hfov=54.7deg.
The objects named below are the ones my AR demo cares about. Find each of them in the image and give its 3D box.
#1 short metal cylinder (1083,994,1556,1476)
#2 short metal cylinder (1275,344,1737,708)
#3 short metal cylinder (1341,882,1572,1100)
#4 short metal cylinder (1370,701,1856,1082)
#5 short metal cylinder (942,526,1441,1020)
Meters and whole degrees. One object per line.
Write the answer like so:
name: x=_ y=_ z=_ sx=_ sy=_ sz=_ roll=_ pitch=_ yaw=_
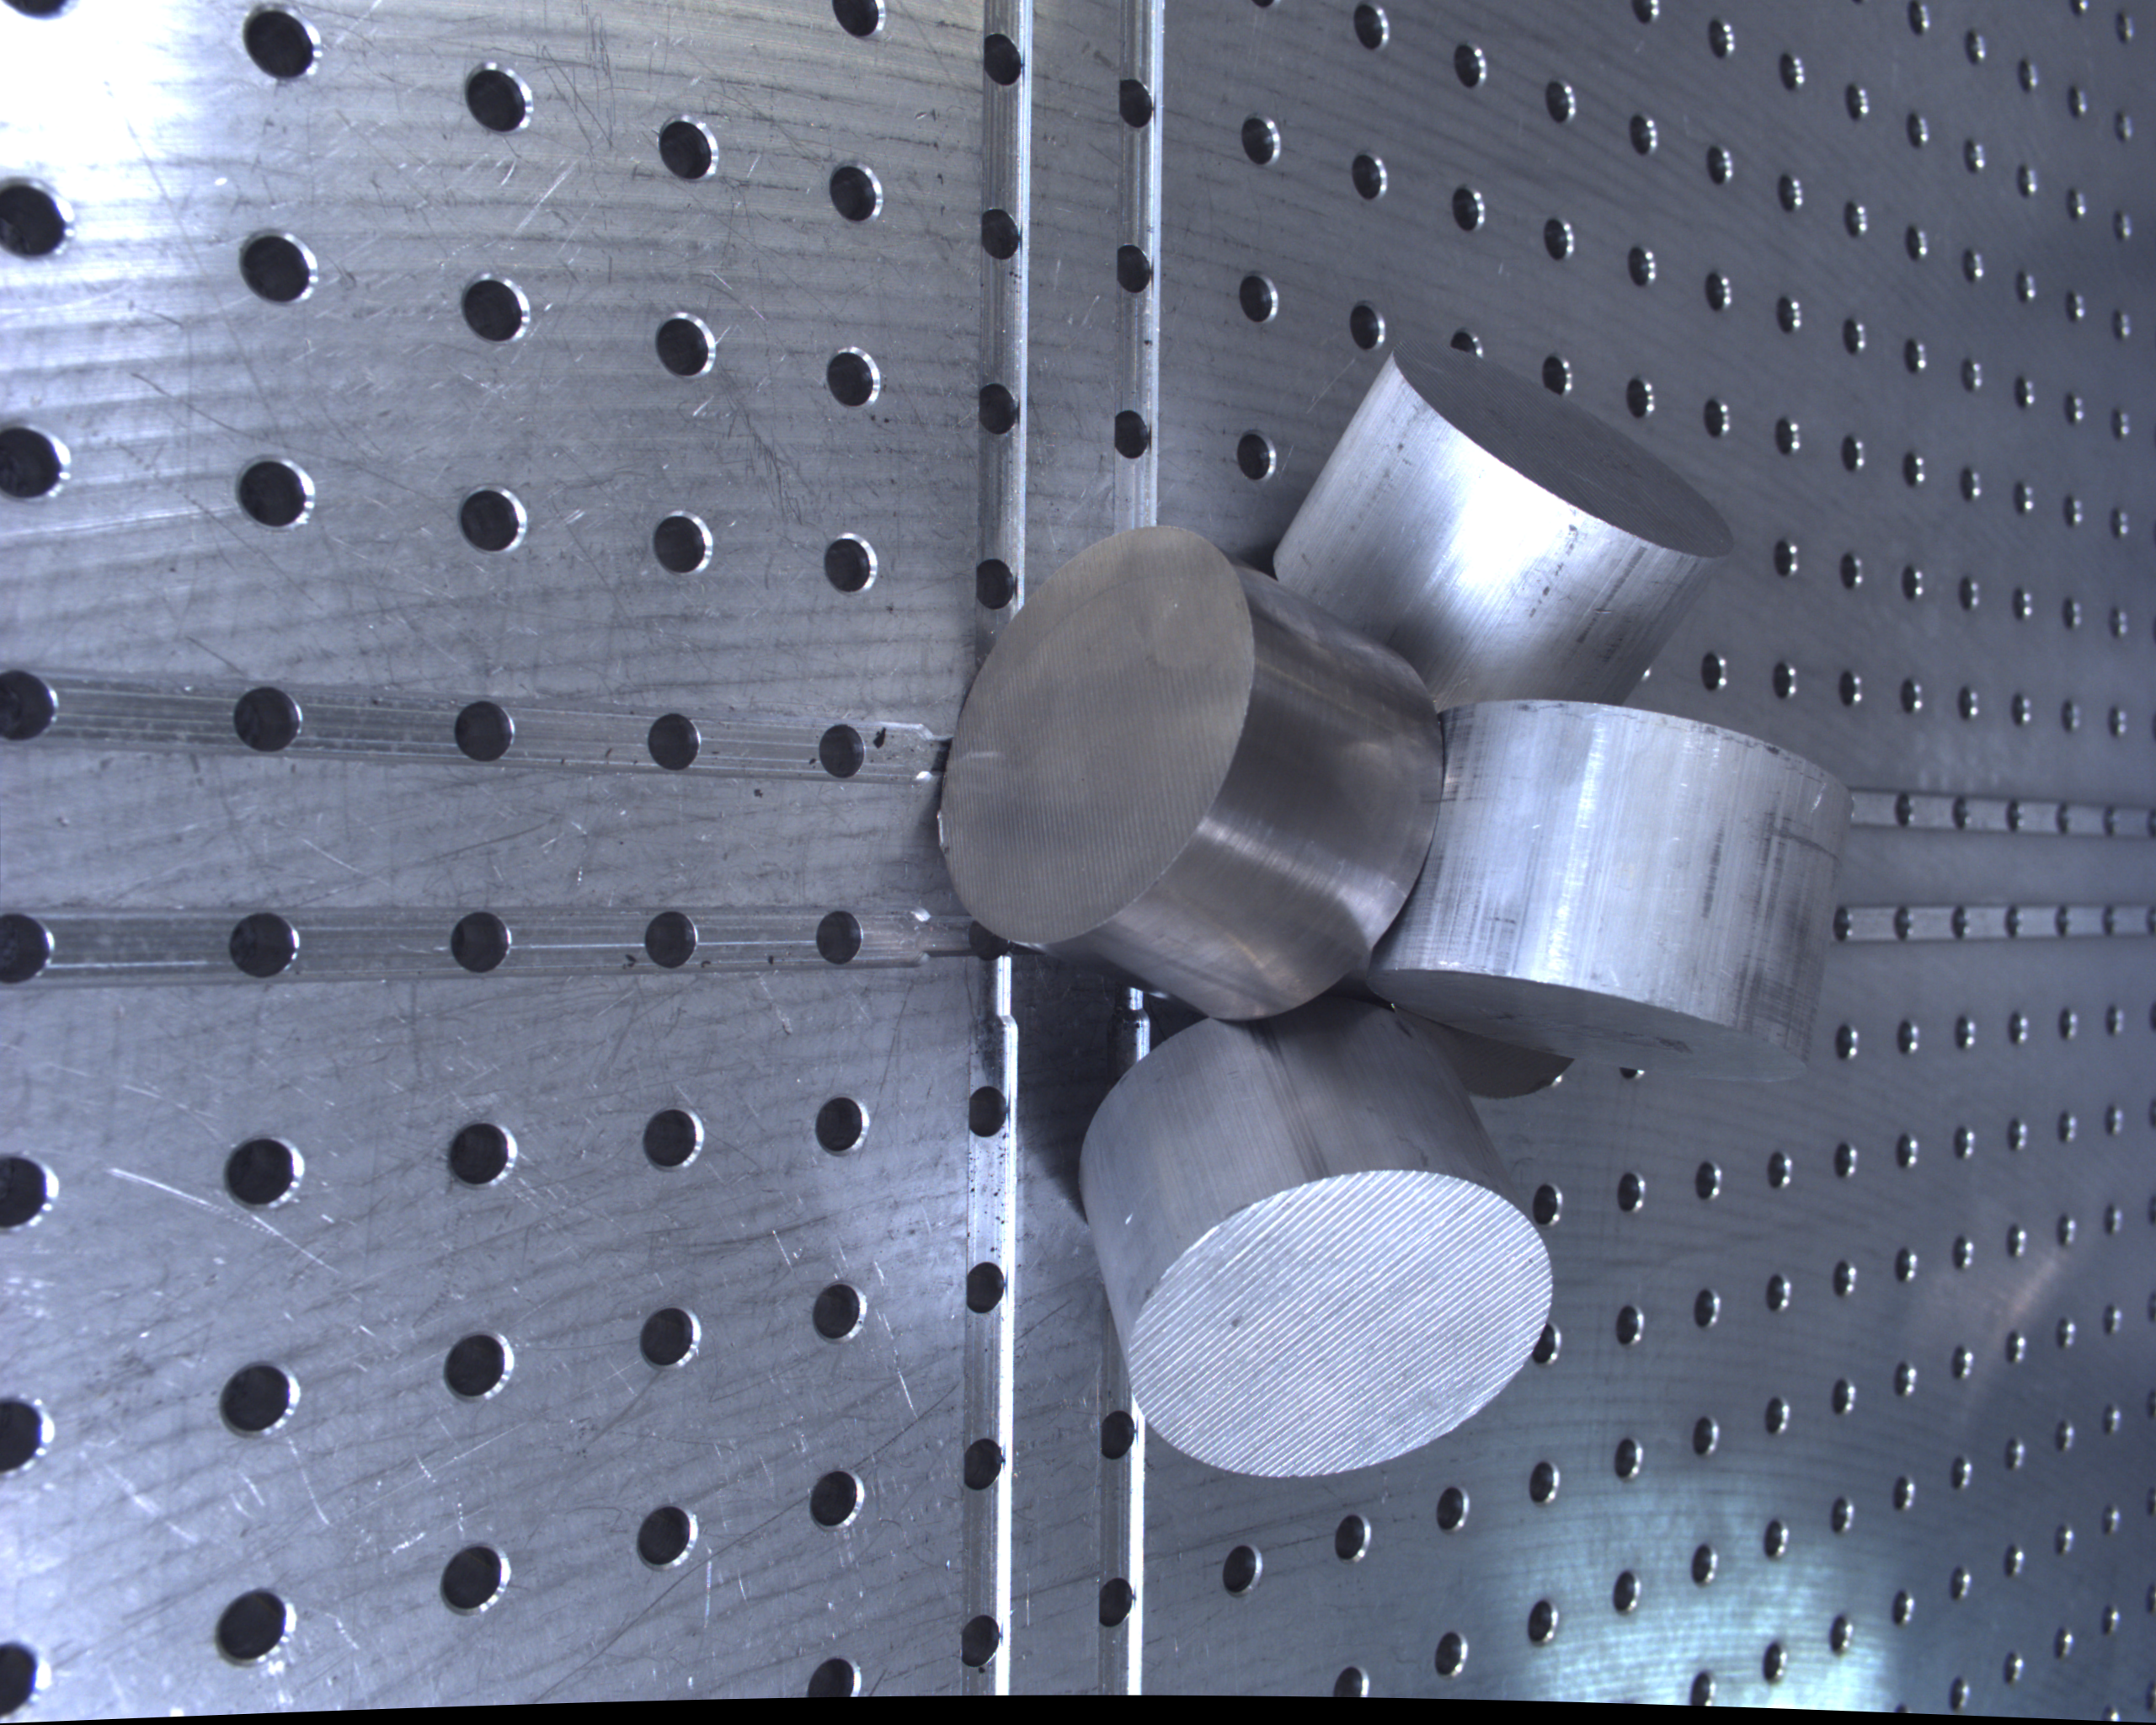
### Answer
short metal cylinder: x=0.045 y=0.072 z=0.403 sx=0.081 sy=0.050 sz=0.079 roll=-6 pitch=125 yaw=-8
short metal cylinder: x=0.089 y=-0.066 z=0.438 sx=0.081 sy=0.080 sz=0.050 roll=3 pitch=128 yaw=-40
short metal cylinder: x=0.074 y=0.010 z=0.453 sx=0.081 sy=0.050 sz=0.080 roll=1 pitch=88 yaw=-39
short metal cylinder: x=0.099 y=0.007 z=0.390 sx=0.080 sy=0.080 sz=0.050 roll=22 pitch=76 yaw=-38
short metal cylinder: x=0.020 y=-0.016 z=0.389 sx=0.050 sy=0.080 sz=0.080 roll=24 pitch=75 yaw=-38
